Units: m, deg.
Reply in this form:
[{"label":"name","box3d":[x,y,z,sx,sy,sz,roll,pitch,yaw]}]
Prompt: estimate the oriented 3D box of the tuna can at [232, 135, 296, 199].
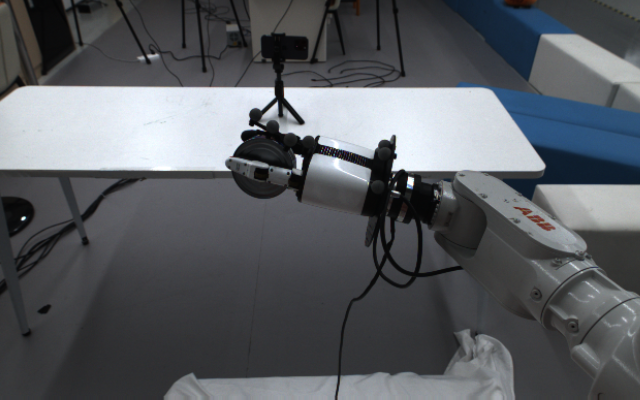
[{"label":"tuna can","box3d":[-0.075,-0.048,0.666,0.085,0.085,0.034,7,17,7]}]
